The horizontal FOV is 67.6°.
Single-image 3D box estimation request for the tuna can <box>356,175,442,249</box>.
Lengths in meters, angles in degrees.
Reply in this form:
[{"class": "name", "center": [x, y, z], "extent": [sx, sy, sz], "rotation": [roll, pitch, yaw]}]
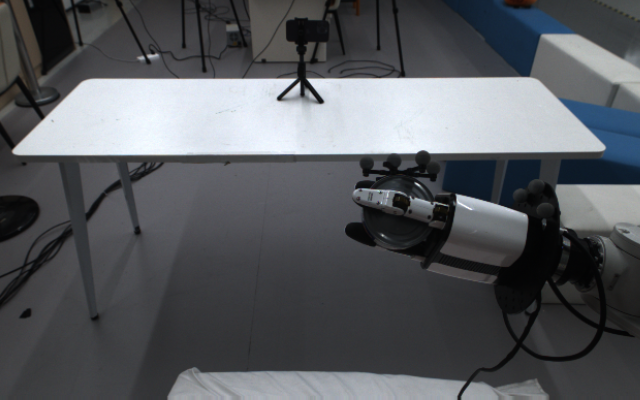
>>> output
[{"class": "tuna can", "center": [0.092, 0.013, 0.568], "extent": [0.085, 0.034, 0.085], "rotation": [0, 74, 1]}]
